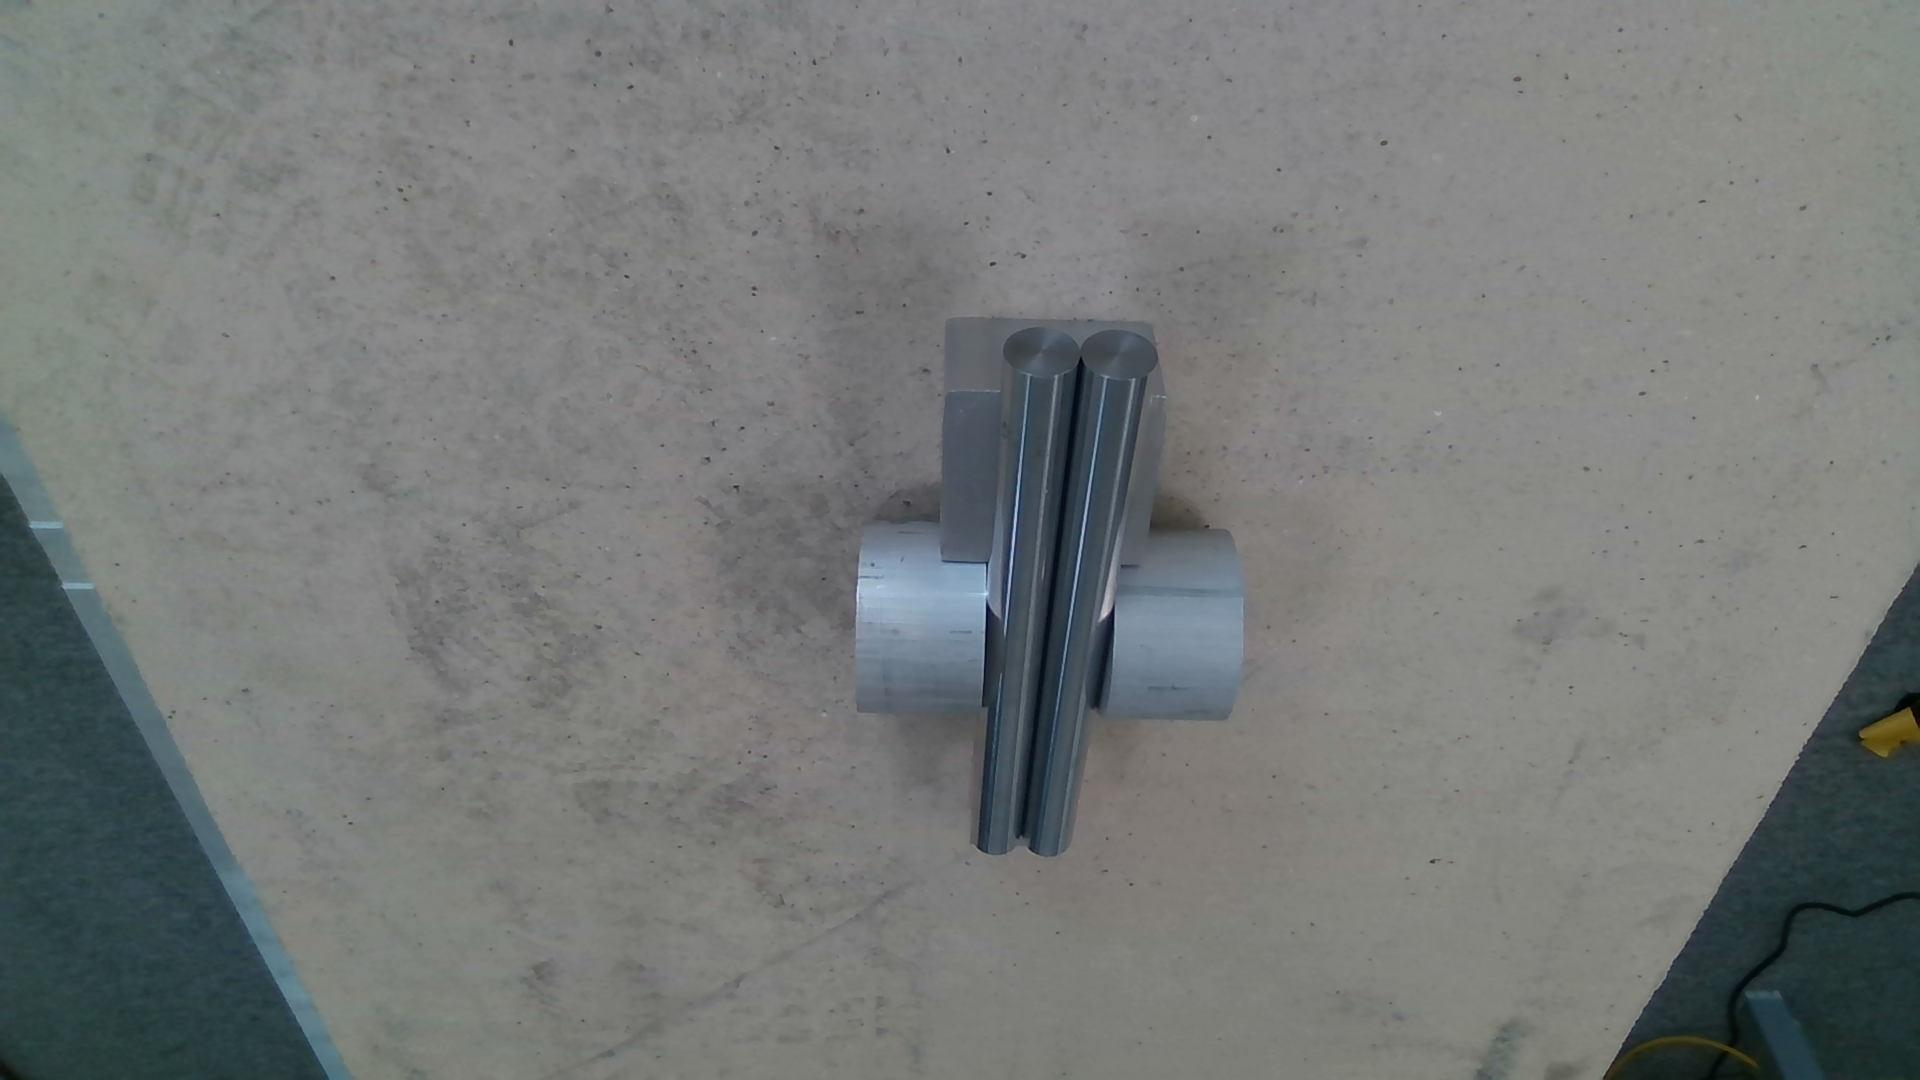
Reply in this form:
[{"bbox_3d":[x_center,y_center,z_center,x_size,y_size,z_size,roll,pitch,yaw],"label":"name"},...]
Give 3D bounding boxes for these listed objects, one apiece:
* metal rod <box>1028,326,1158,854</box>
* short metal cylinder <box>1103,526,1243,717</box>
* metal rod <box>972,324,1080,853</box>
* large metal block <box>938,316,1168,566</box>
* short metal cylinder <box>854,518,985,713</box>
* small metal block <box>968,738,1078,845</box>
[{"bbox_3d":[0.047,0.040,0.555,0.025,0.025,0.301,1,138,-1],"label":"metal rod"},{"bbox_3d":[0.084,0.034,0.573,0.050,0.080,0.080,1,130,-1],"label":"short metal cylinder"},{"bbox_3d":[0.022,0.039,0.555,0.025,0.025,0.301,1,138,-1],"label":"metal rod"},{"bbox_3d":[0.032,-0.038,0.532,0.080,0.050,0.080,1,130,-1],"label":"large metal block"},{"bbox_3d":[-0.016,0.031,0.570,0.050,0.080,0.080,1,130,-1],"label":"short metal cylinder"},{"bbox_3d":[0.031,0.126,0.686,0.050,0.025,0.050,2,130,-2],"label":"small metal block"}]
